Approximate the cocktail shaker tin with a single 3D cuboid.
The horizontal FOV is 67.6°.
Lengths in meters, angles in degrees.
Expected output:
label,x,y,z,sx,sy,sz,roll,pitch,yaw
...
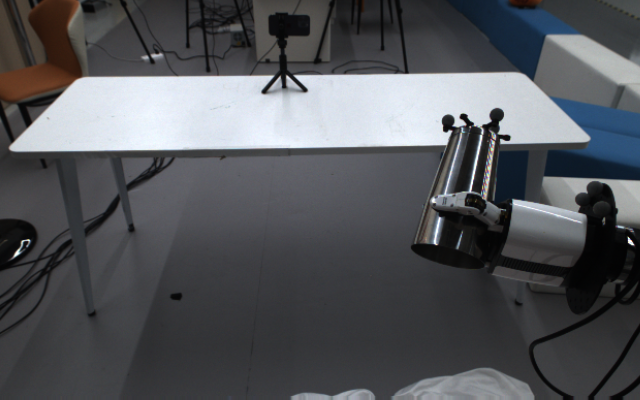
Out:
label,x,y,z,sx,sy,sz,roll,pitch,yaw
cocktail shaker tin,0.184,-0.005,0.628,0.093,0.093,0.170,13,73,16
